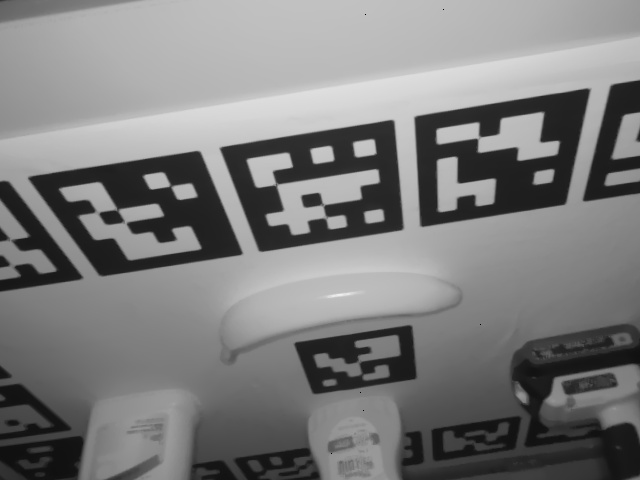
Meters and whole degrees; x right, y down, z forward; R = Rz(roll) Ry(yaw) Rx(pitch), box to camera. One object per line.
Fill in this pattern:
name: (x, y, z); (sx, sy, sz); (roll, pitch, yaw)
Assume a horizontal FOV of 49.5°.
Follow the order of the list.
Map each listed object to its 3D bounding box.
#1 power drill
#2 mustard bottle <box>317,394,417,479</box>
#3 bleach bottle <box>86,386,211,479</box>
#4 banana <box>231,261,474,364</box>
power drill: (0.230, 0.205, 0.572); (0.184, 0.188, 0.057); (-14, 136, 4)
mustard bottle: (0.048, 0.239, 0.633); (0.096, 0.193, 0.058); (-12, 136, 10)
bleach bottle: (-0.149, 0.246, 0.572); (0.103, 0.252, 0.067); (-2, 137, -3)
banana: (0.017, 0.049, 0.524); (0.197, 0.039, 0.074); (-14, 134, 4)
